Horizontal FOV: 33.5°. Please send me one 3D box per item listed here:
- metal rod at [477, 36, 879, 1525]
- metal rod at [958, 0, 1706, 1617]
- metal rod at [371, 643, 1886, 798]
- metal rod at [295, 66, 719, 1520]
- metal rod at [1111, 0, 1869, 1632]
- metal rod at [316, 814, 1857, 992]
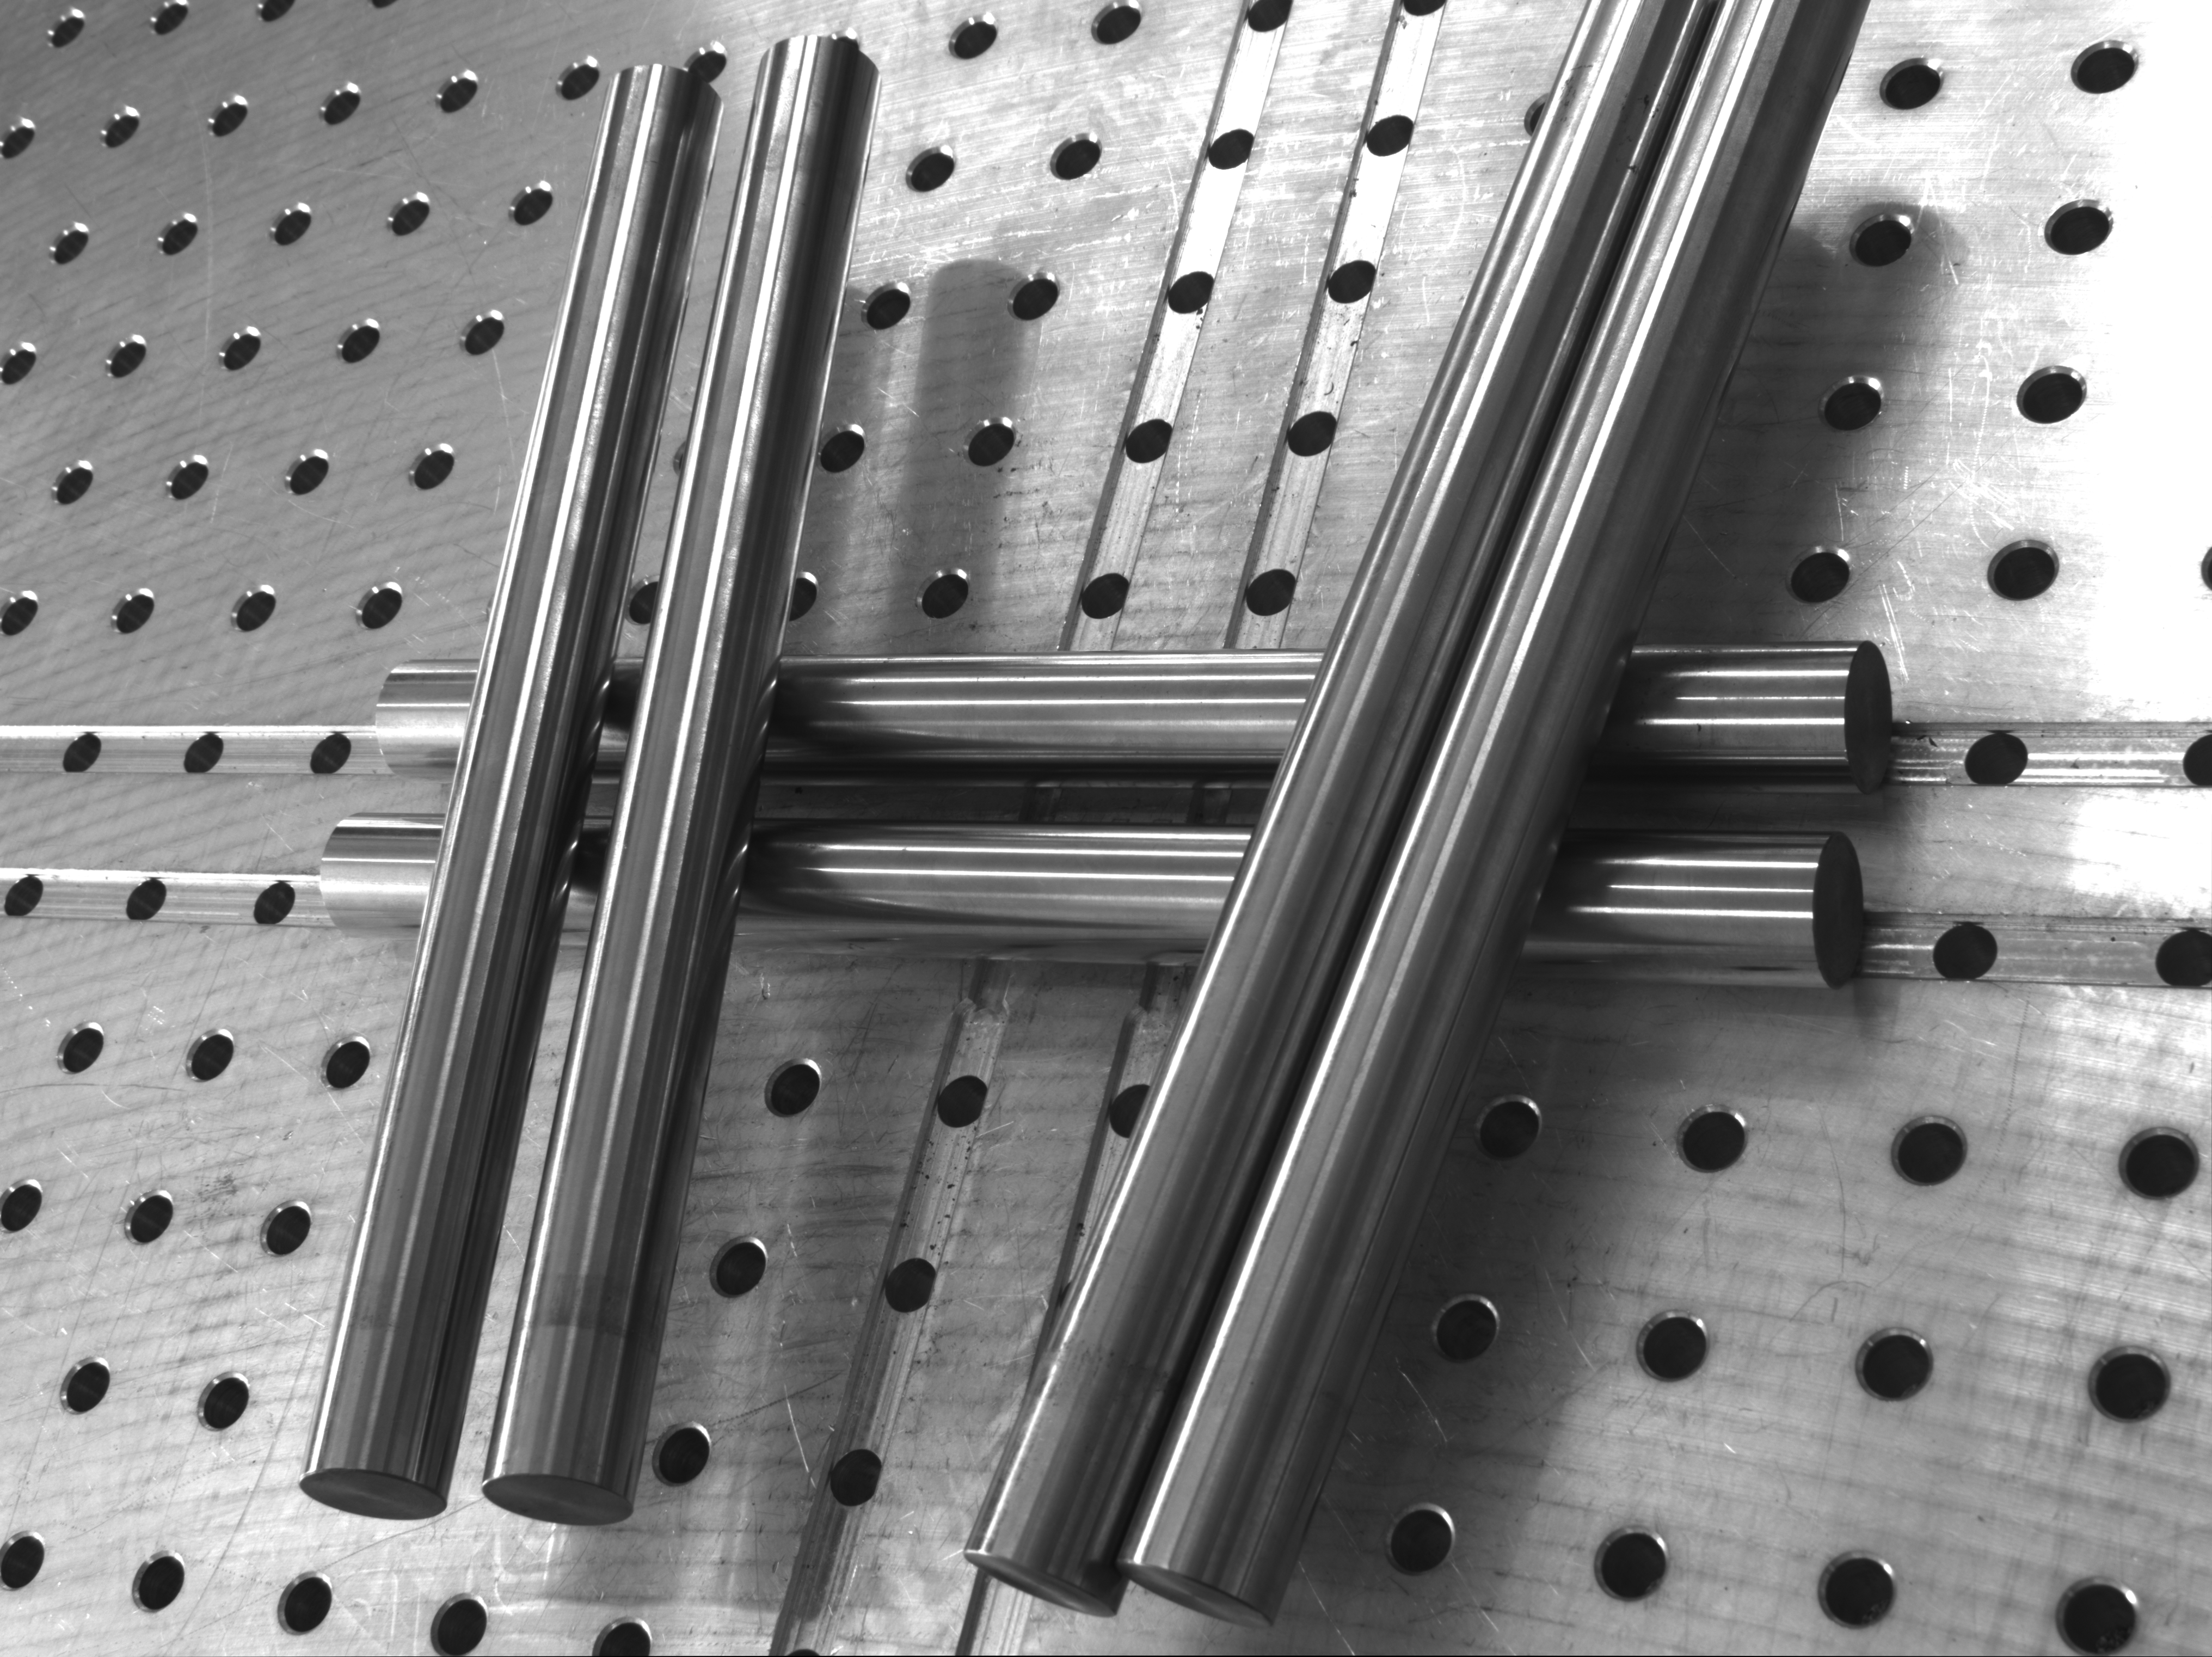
[{"bbox_3d":[-0.074,-0.021,0.671,0.025,0.025,0.300,-8,58,25],"label":"metal rod"},{"bbox_3d":[0.044,-0.016,0.604,0.025,0.025,0.300,9,66,33],"label":"metal rod"},{"bbox_3d":[-0.009,-0.019,0.666,0.299,0.025,0.025,1,62,29],"label":"metal rod"},{"bbox_3d":[-0.108,-0.019,0.687,0.025,0.025,0.300,-8,58,24],"label":"metal rod"},{"bbox_3d":[0.067,-0.017,0.592,0.025,0.025,0.300,9,66,33],"label":"metal rod"},{"bbox_3d":[-0.016,0.011,0.652,0.299,0.025,0.025,1,62,29],"label":"metal rod"}]
